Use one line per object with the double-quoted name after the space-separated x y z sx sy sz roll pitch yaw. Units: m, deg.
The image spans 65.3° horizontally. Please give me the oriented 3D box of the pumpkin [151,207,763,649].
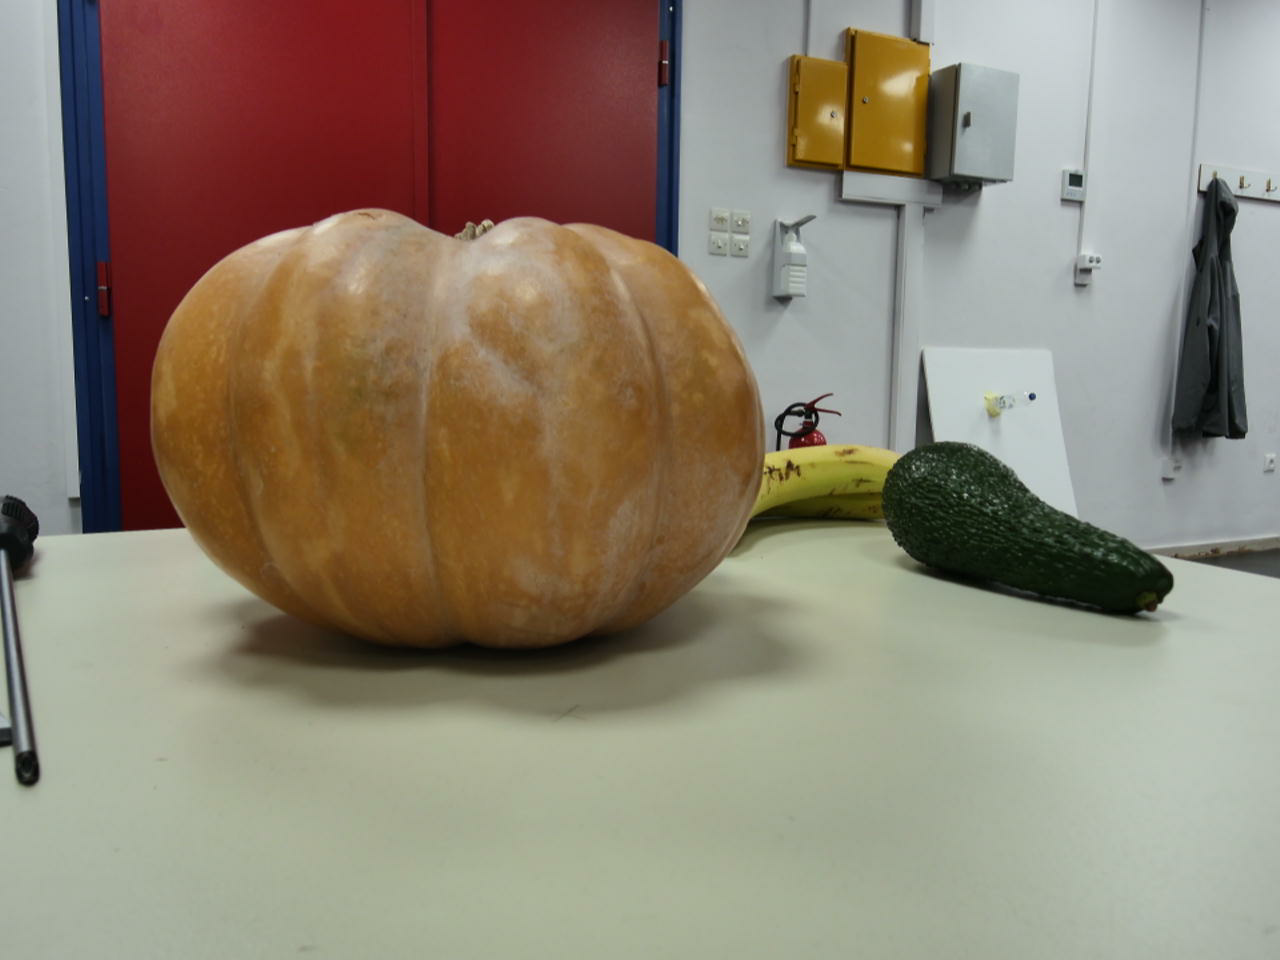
-0.073 -0.024 0.447 0.277 0.181 0.277 0 5 0 "pumpkin"
